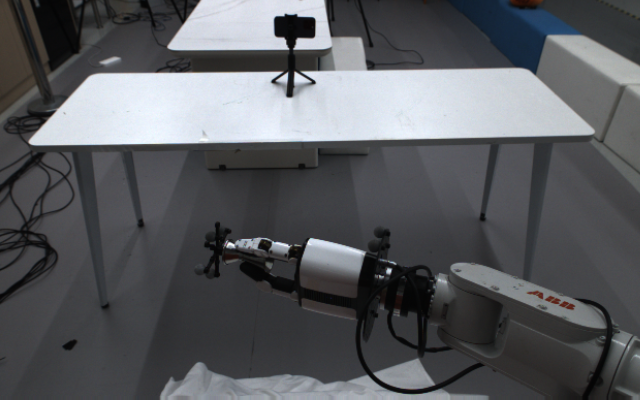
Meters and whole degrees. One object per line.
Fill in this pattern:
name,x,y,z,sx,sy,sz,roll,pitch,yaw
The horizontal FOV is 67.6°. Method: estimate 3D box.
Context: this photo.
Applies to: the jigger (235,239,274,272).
jigger,-0.099,0.078,0.720,0.071,0.043,0.043,7,35,12
